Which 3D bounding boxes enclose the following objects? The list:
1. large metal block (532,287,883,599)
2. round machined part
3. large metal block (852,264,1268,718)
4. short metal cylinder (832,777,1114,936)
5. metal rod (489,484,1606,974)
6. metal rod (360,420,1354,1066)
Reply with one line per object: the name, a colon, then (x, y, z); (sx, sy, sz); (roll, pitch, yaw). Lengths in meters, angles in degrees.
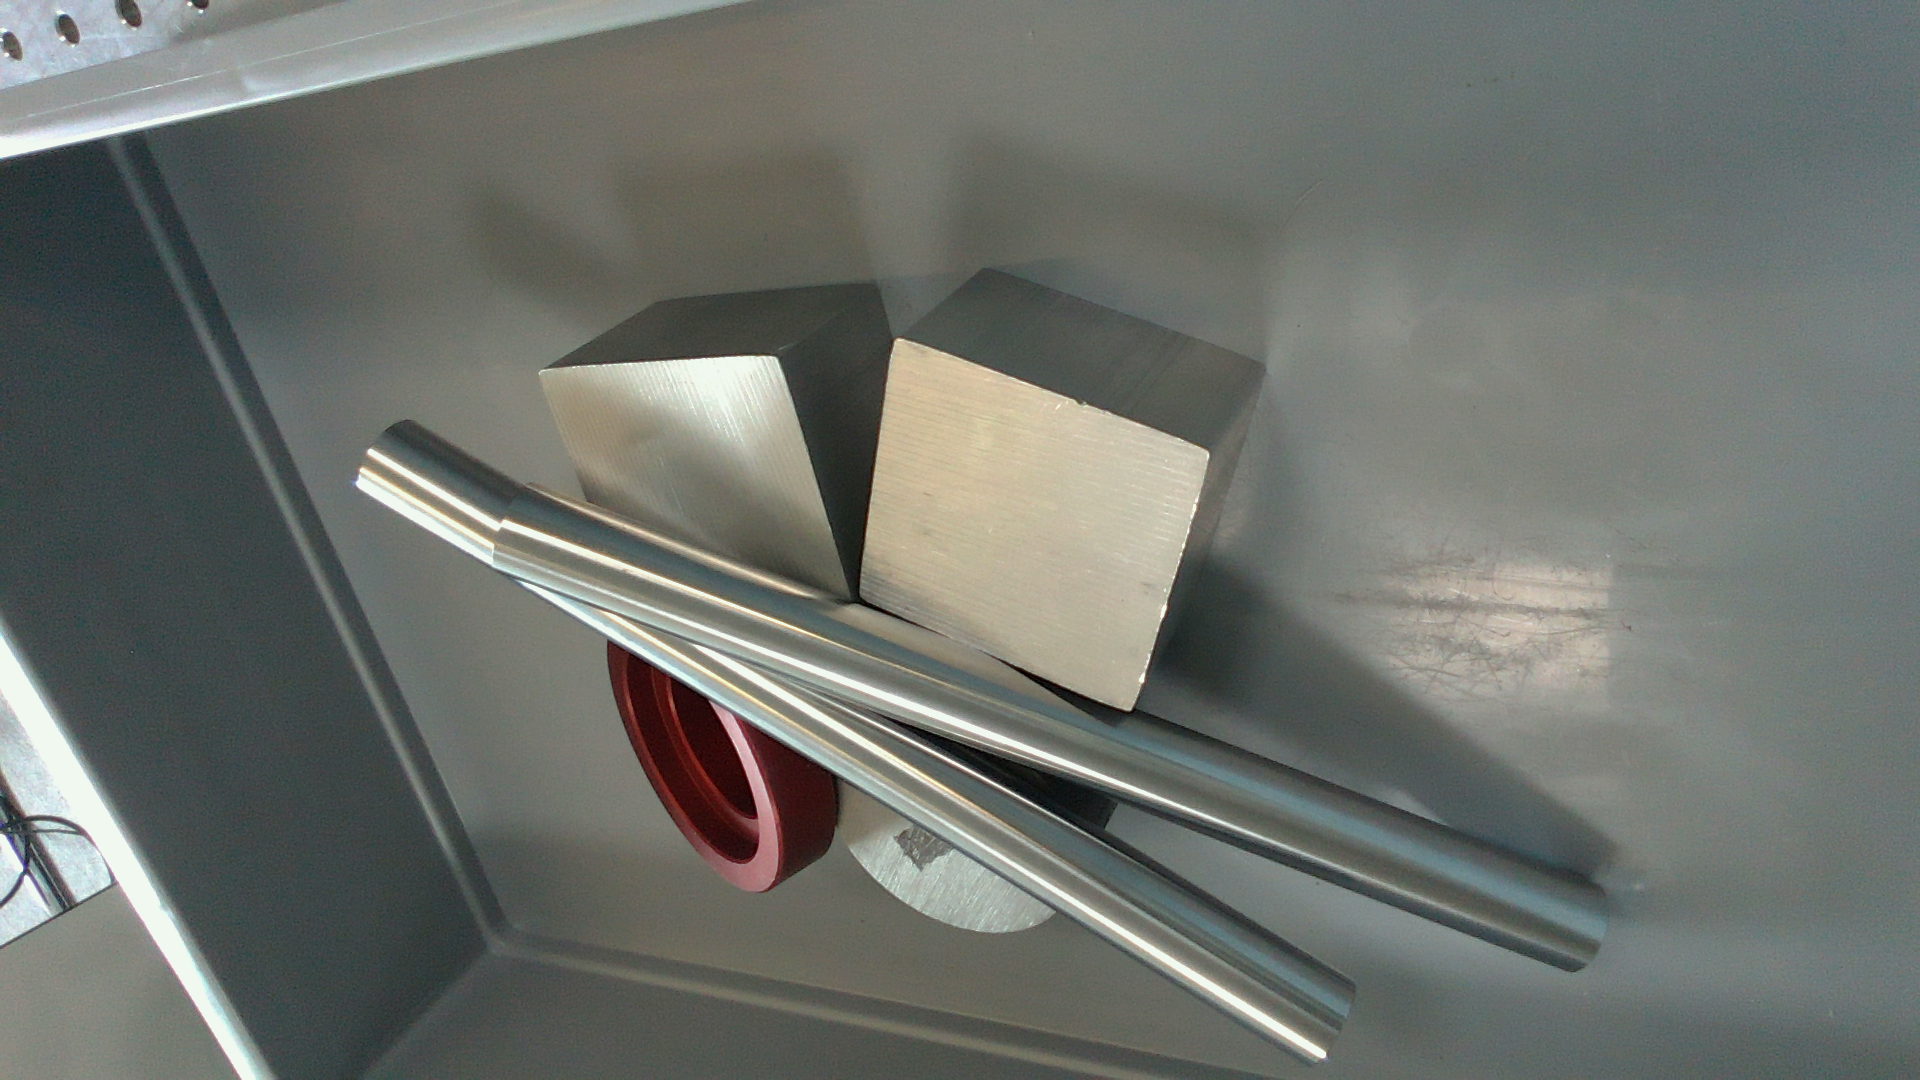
large metal block: (-0.061, -0.022, 0.390); (0.080, 0.050, 0.080); (1, 119, 28)
round machined part: (-0.069, 0.058, 0.439); (0.098, 0.042, 0.098); (33, 137, 38)
large metal block: (0.024, -0.014, 0.353); (0.080, 0.050, 0.080); (22, 127, 15)
short metal cylinder: (0.006, 0.071, 0.415); (0.080, 0.050, 0.080); (13, 124, 21)
metal rod: (0.024, 0.050, 0.361); (0.300, 0.025, 0.025); (21, 128, -2)
metal rod: (-0.034, 0.050, 0.374); (0.300, 0.025, 0.025); (30, 128, 8)
